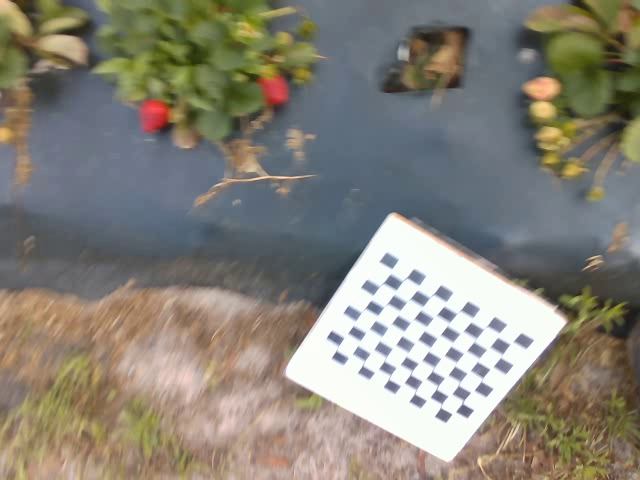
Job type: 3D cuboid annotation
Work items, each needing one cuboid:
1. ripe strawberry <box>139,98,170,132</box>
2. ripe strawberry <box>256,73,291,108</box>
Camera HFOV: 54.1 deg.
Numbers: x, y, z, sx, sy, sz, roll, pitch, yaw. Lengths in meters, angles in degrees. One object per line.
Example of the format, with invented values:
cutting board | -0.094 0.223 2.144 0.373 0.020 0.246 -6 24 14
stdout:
ripe strawberry | -0.229 -0.170 0.864 0.043 0.051 0.043 16 -13 -4
ripe strawberry | -0.070 -0.202 0.873 0.046 0.043 0.046 36 12 22
